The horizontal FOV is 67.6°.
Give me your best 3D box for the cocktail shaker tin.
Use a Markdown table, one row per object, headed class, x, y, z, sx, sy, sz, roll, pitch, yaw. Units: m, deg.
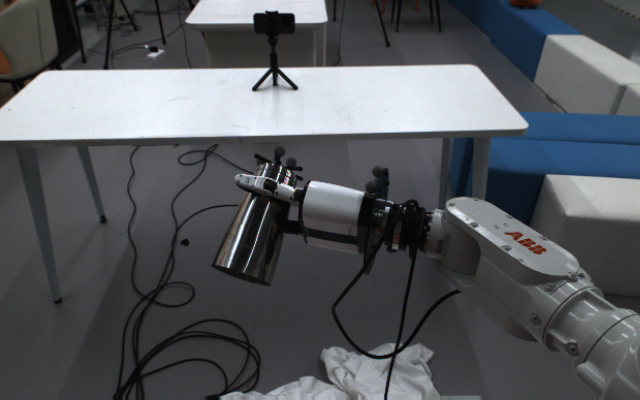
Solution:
| class | x | y | z | sx | sy | sz | roll | pitch | yaw |
| --- | --- | --- | --- | --- | --- | --- | --- | --- | --- |
| cocktail shaker tin | -0.090 | 0.031 | 0.732 | 0.093 | 0.093 | 0.170 | 13 | 72 | 15 |
